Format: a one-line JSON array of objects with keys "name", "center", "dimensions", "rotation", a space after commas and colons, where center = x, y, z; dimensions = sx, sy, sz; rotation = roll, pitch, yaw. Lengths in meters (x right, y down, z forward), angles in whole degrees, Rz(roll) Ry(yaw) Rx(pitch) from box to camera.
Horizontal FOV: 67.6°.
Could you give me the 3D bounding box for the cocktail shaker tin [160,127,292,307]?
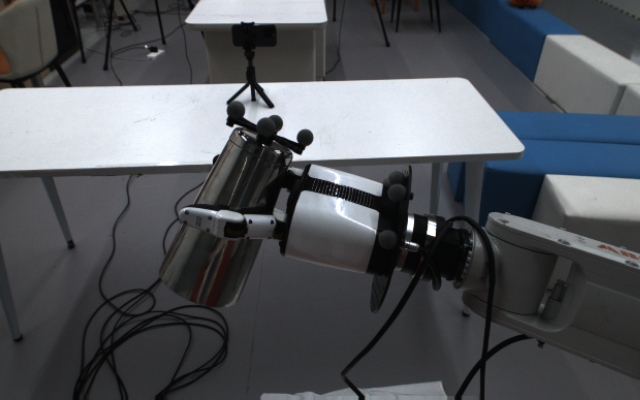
[{"name": "cocktail shaker tin", "center": [-0.090, 0.014, 0.506], "dimensions": [0.093, 0.170, 0.093], "rotation": [24, 12, -6]}]
